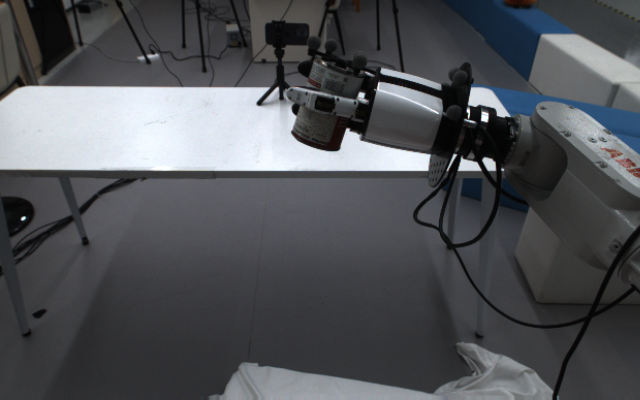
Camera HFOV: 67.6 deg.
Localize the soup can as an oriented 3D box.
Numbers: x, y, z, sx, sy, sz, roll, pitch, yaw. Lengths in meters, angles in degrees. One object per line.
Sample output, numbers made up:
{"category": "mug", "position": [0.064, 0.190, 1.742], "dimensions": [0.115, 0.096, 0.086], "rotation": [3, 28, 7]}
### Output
{"category": "soup can", "position": [0.010, -0.122, 0.618], "dimensions": [0.067, 0.101, 0.067], "rotation": [17, 21, -7]}
